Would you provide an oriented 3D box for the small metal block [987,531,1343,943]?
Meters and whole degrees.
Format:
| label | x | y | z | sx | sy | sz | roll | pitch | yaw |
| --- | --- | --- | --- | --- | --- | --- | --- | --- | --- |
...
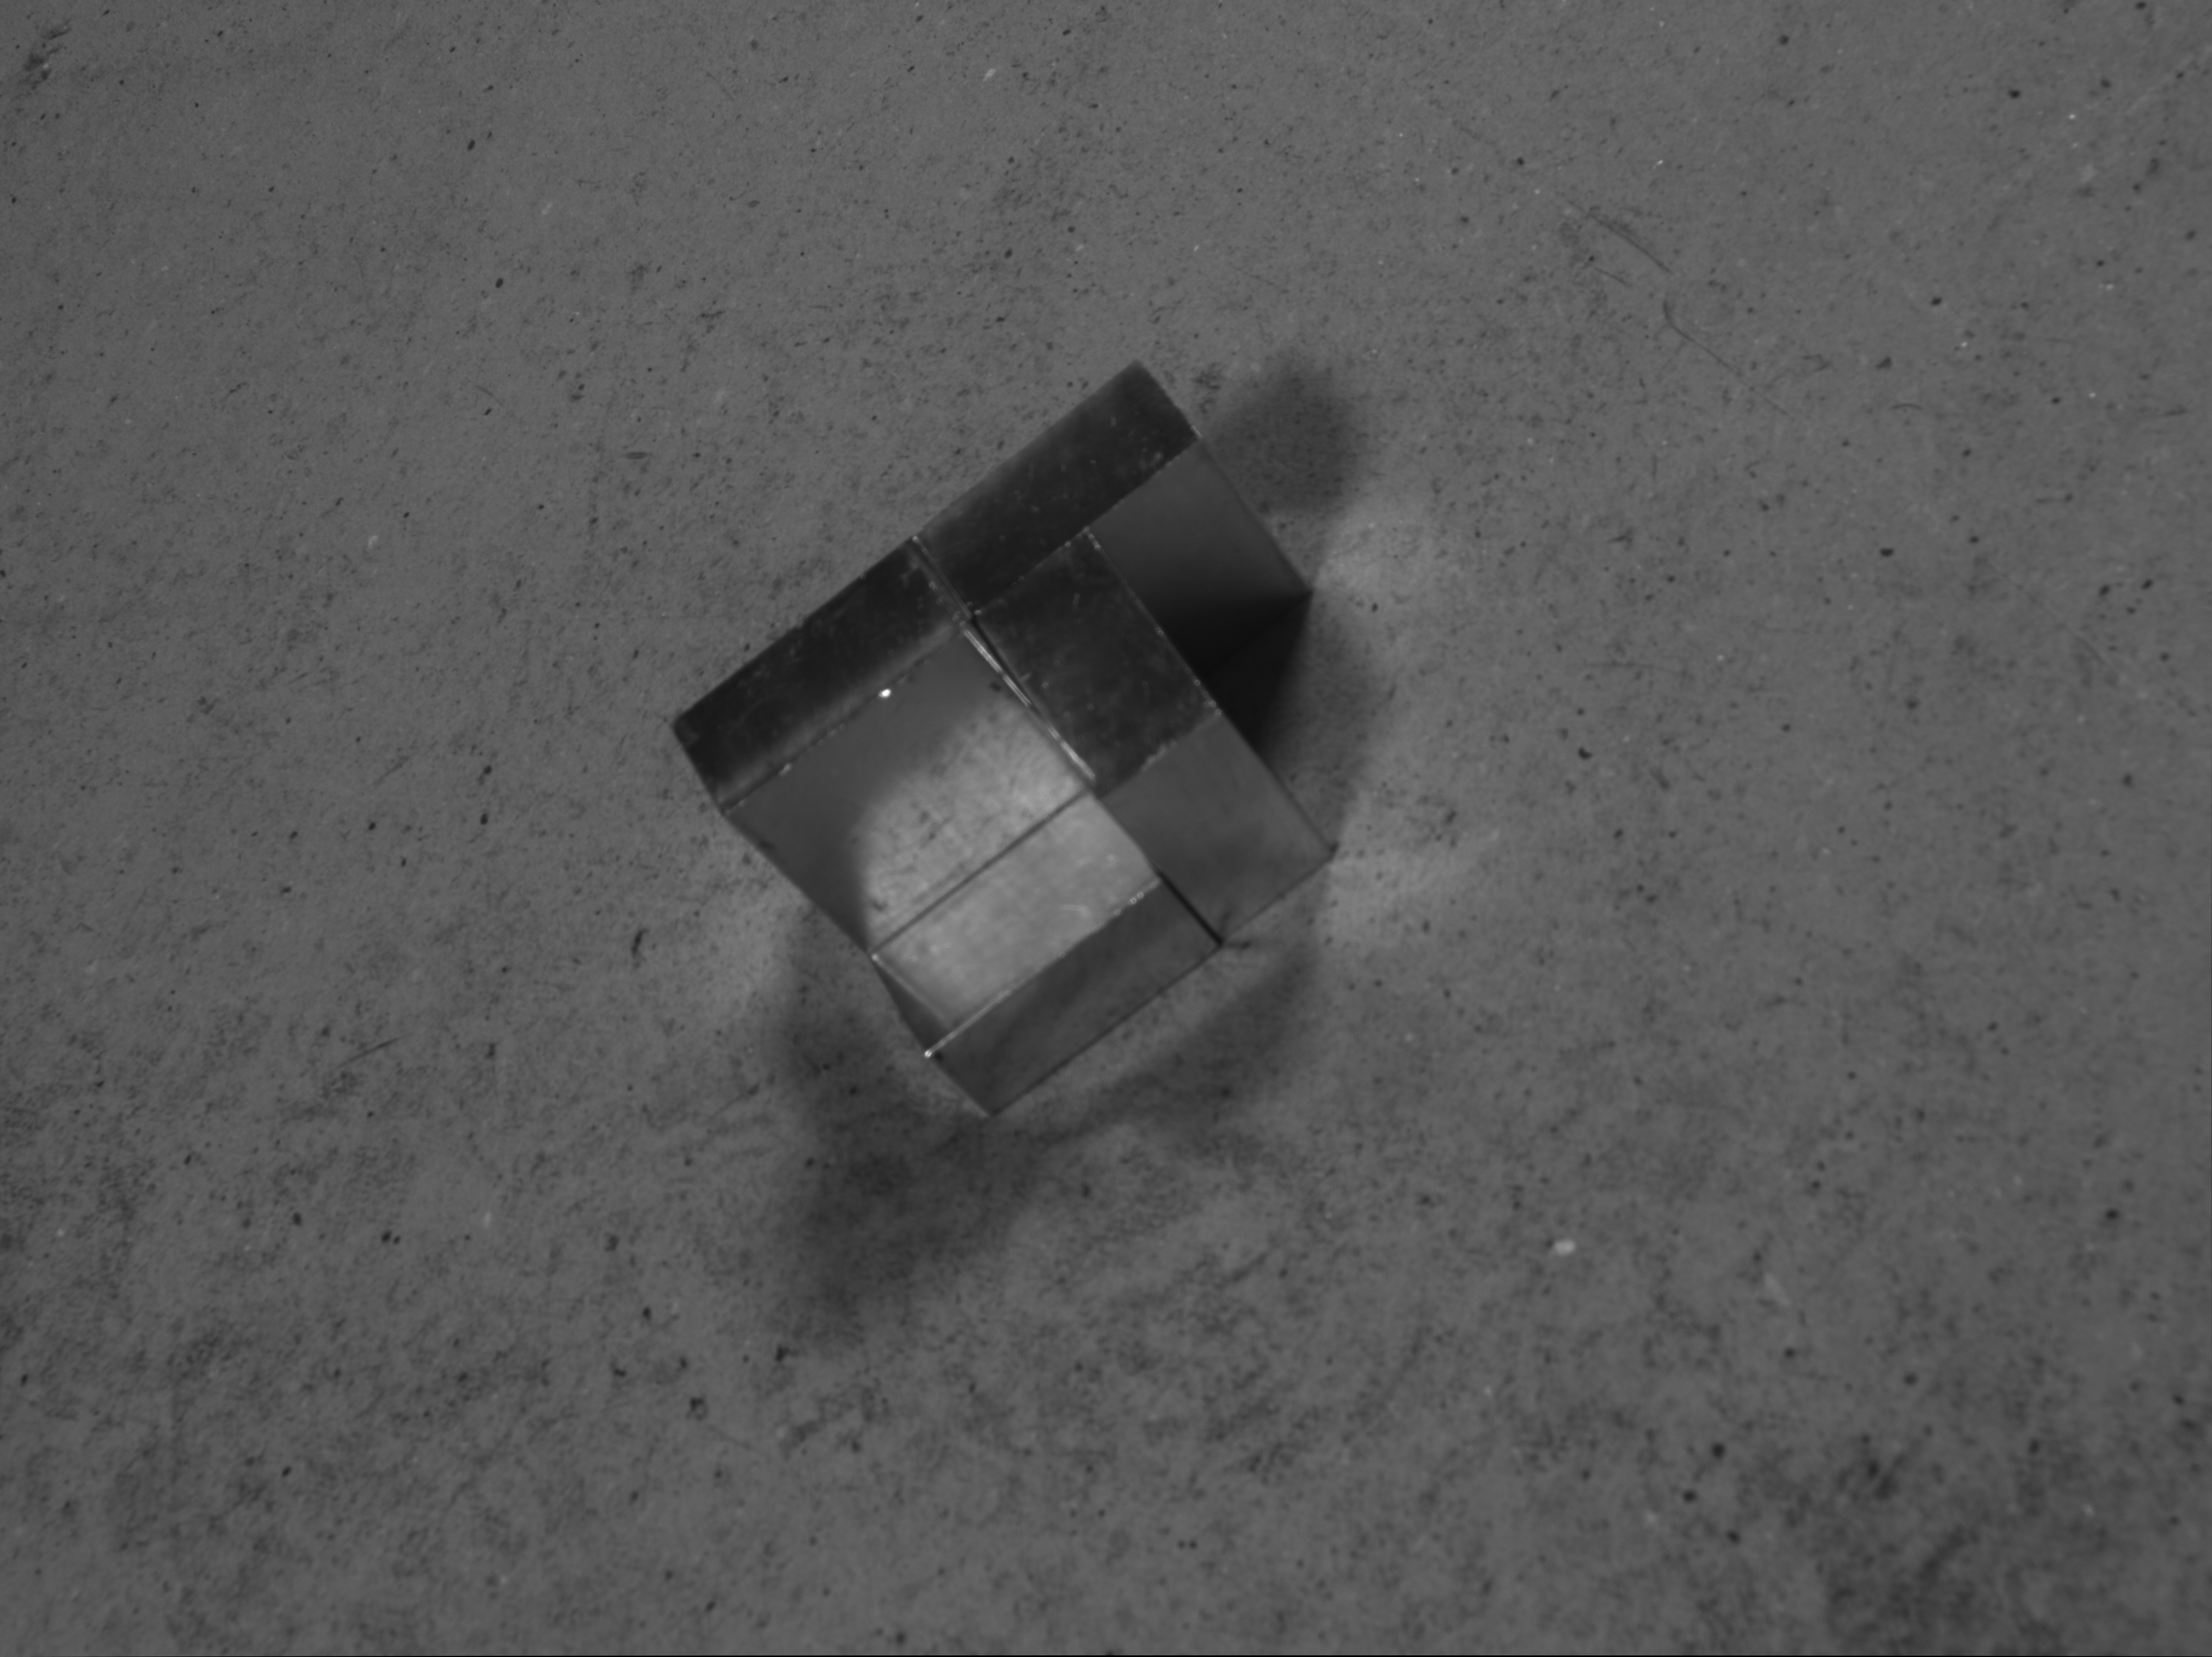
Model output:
| label | x | y | z | sx | sy | sz | roll | pitch | yaw |
| --- | --- | --- | --- | --- | --- | --- | --- | --- | --- |
| small metal block | 0.010 | -0.016 | 0.632 | 0.025 | 0.050 | 0.050 | -37 | 51 | 4 |

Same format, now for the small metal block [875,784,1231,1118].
| label | x | y | z | sx | sy | sz | roll | pitch | yaw |
| --- | --- | --- | --- | --- | --- | --- | --- | --- | --- |
| small metal block | -0.014 | 0.014 | 0.644 | 0.050 | 0.025 | 0.050 | -37 | 51 | 4 |

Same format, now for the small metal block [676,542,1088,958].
| label | x | y | z | sx | sy | sz | roll | pitch | yaw |
| --- | --- | --- | --- | --- | --- | --- | --- | --- | --- |
| small metal block | -0.036 | -0.013 | 0.623 | 0.050 | 0.050 | 0.025 | -38 | 51 | 3 |

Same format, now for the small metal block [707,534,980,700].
| label | x | y | z | sx | sy | sz | roll | pitch | yaw |
| --- | --- | --- | --- | --- | --- | --- | --- | --- | --- |
| small metal block | -0.036 | -0.017 | 0.658 | 0.050 | 0.050 | 0.025 | -38 | 51 | 3 |

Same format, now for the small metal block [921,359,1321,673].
| label | x | y | z | sx | sy | sz | roll | pitch | yaw |
| --- | --- | --- | --- | --- | --- | --- | --- | --- | --- |
| small metal block | 0.003 | -0.047 | 0.656 | 0.050 | 0.050 | 0.025 | -38 | 51 | 3 |
